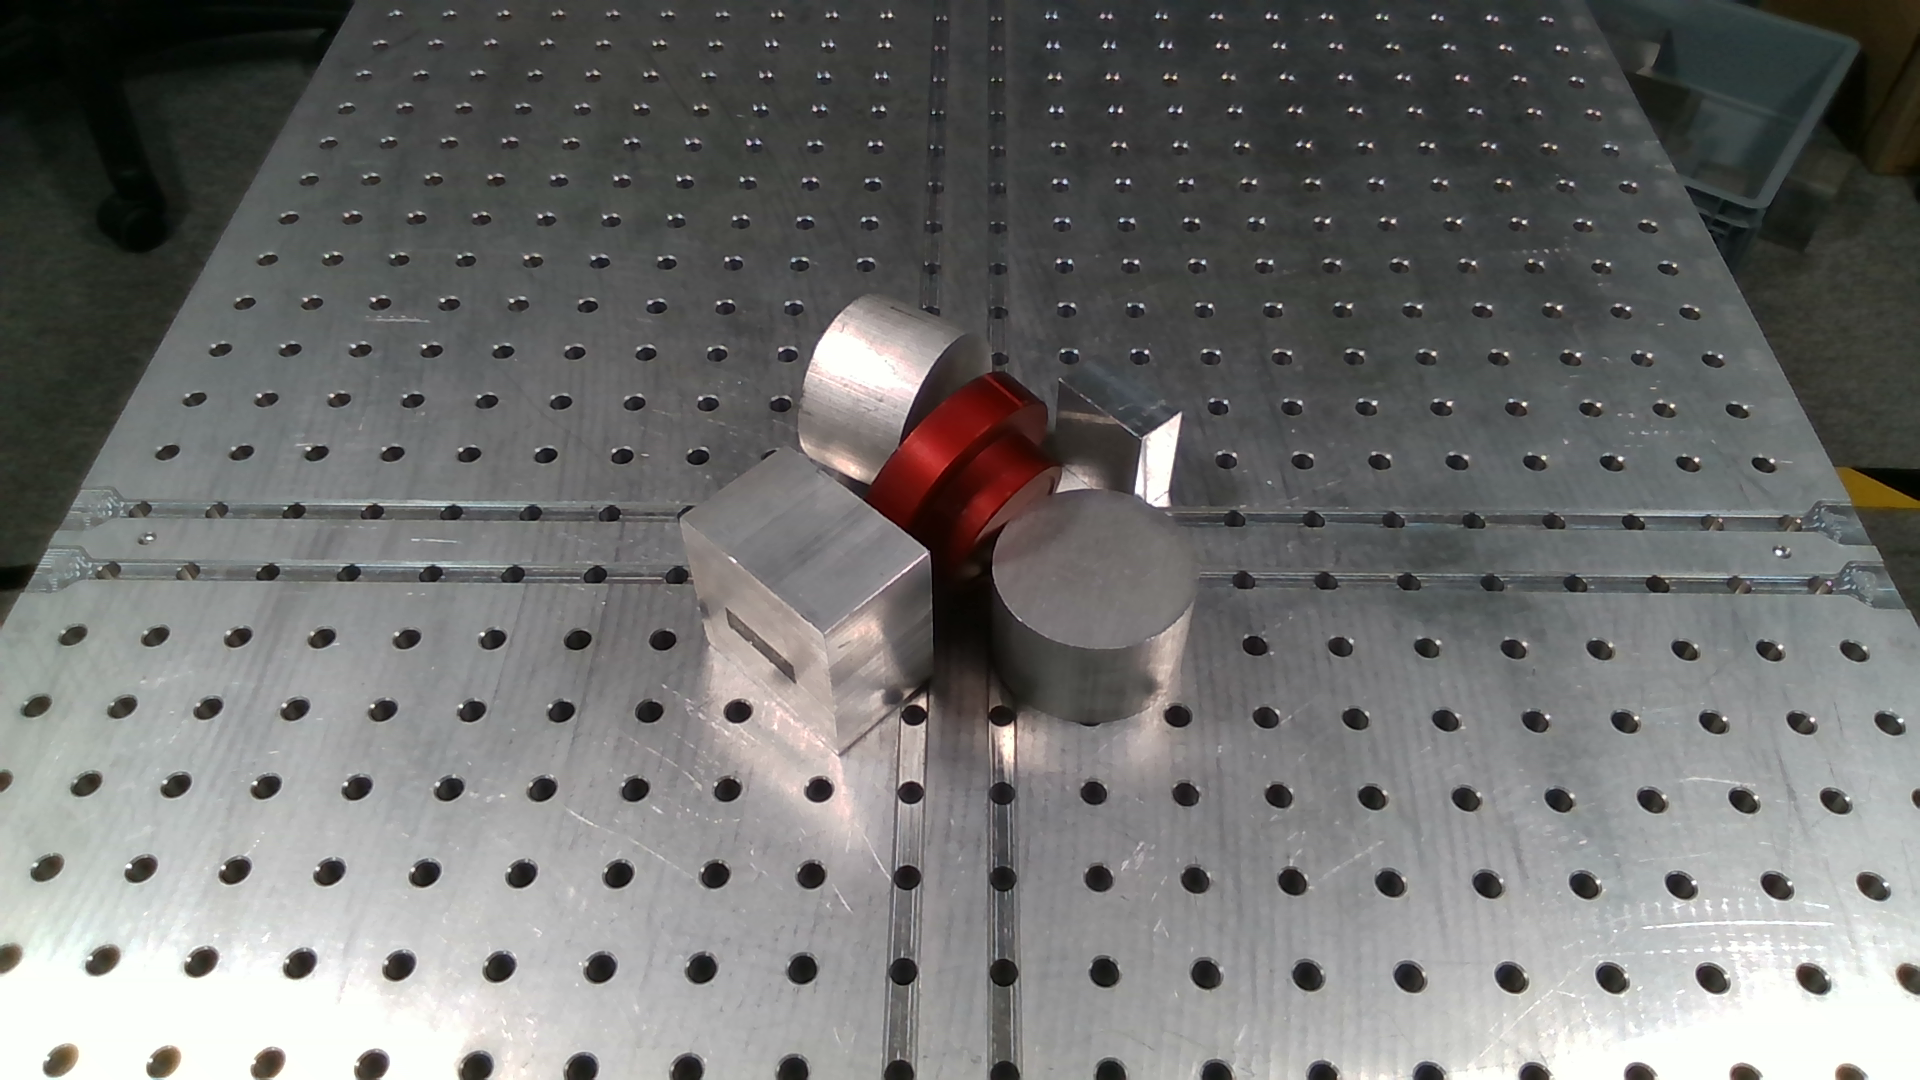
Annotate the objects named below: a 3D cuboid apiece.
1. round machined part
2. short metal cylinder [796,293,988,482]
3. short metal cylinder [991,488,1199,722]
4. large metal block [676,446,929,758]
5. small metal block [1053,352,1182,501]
[{"bbox_3d":[0.004,-0.018,0.558,0.042,0.098,0.098,41,60,14],"label":"round machined part"},{"bbox_3d":[-0.028,-0.063,0.606,0.050,0.080,0.080,25,54,19],"label":"short metal cylinder"},{"bbox_3d":[0.052,0.026,0.552,0.080,0.050,0.080,0,50,0],"label":"short metal cylinder"},{"bbox_3d":[-0.059,0.024,0.535,0.080,0.080,0.050,36,59,26],"label":"large metal block"},{"bbox_3d":[0.069,-0.047,0.612,0.025,0.050,0.050,-35,58,-26],"label":"small metal block"}]
